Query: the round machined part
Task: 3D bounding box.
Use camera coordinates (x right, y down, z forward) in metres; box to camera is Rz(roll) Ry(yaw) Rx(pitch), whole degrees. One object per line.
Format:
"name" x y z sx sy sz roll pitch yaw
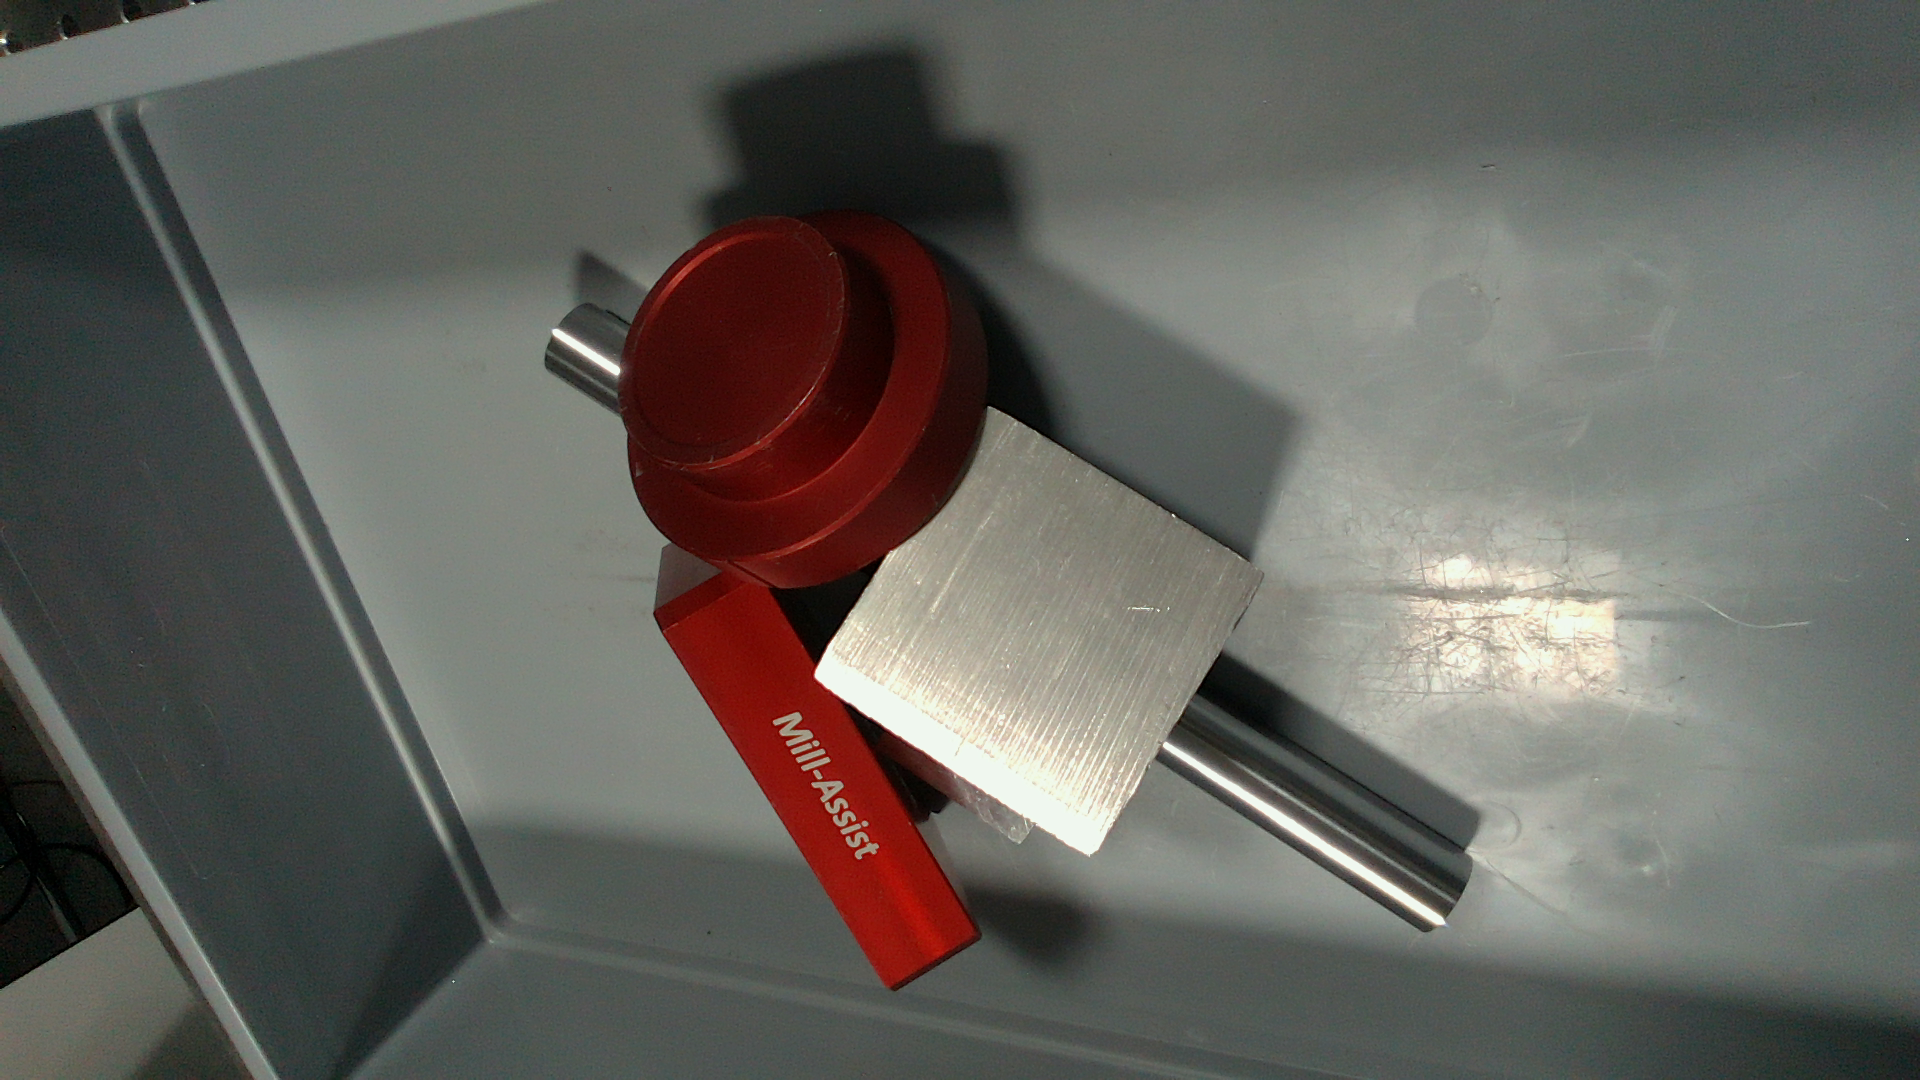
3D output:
"round machined part" -0.046 -0.040 0.342 0.098 0.098 0.042 -2 158 29

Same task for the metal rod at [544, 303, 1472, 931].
"metal rod" 0.008 0.018 0.398 0.300 0.025 0.025 32 129 7

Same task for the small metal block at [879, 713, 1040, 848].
"small metal block" 0.012 0.053 0.401 0.050 0.050 0.025 33 129 7

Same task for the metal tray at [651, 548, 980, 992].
"metal tray" -0.044 0.058 0.411 0.030 0.090 0.130 -30 105 -3

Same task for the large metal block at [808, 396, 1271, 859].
"large metal block" 0.021 0.023 0.353 0.080 0.050 0.080 32 86 7
